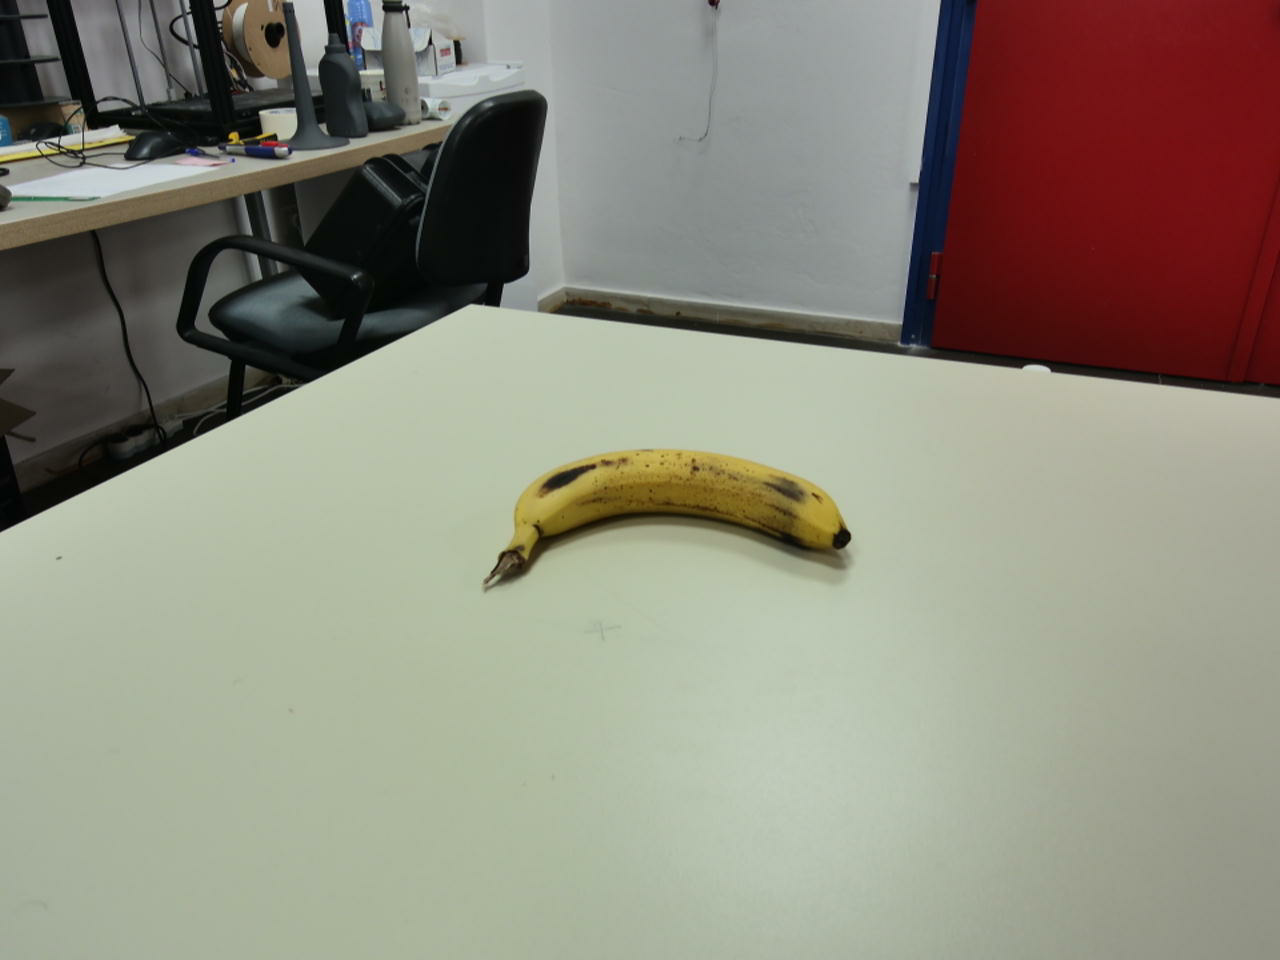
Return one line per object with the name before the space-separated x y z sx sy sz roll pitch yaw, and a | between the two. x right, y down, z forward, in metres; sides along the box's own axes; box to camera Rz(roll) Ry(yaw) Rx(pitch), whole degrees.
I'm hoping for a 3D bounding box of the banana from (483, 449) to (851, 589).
banana | 0.015 0.014 0.549 0.186 0.038 0.097 -2 25 -3
